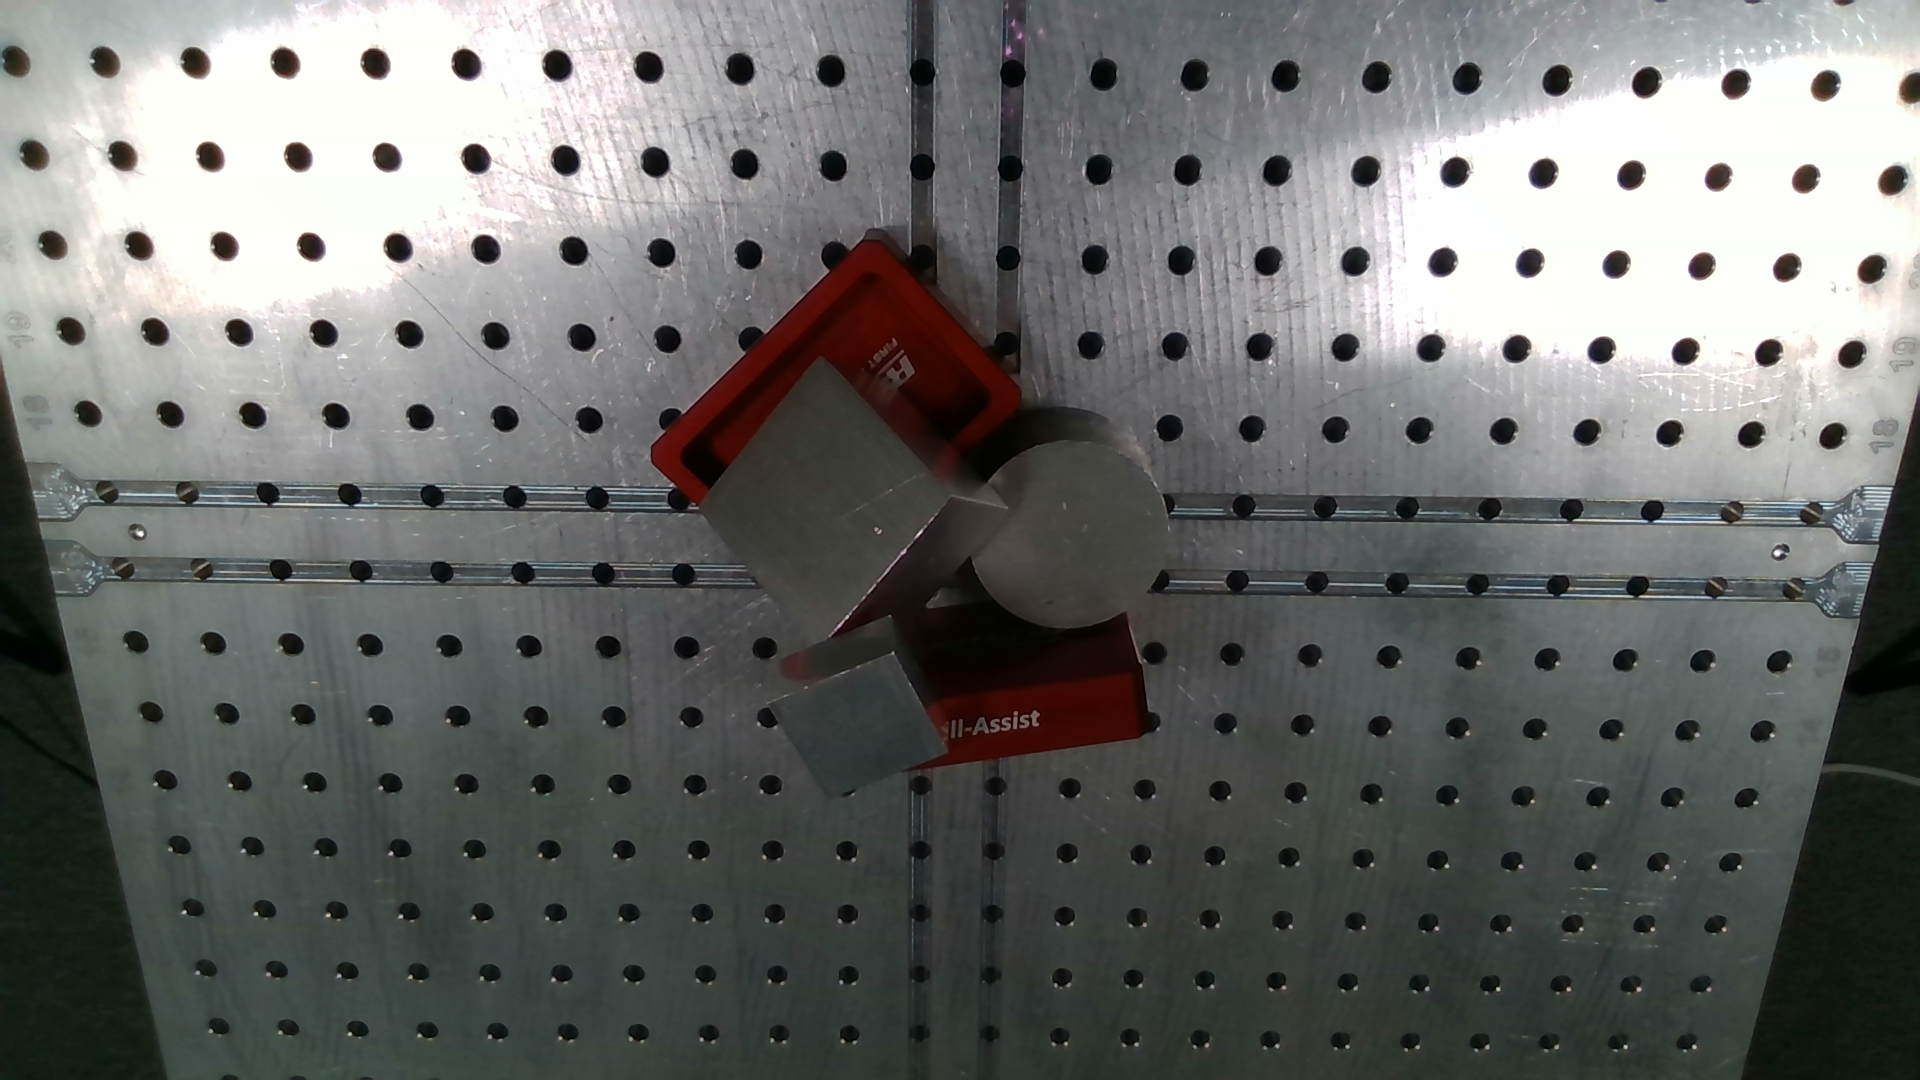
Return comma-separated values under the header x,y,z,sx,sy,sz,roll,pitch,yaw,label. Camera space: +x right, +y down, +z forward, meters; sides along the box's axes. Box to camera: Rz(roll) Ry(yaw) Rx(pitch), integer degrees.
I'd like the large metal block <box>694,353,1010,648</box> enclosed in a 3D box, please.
x,y,z,sx,sy,sz,roll,pitch,yaw,label
-0.042,-0.012,0.536,0.080,0.050,0.080,-49,68,16,large metal block

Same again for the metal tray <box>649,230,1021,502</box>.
x,y,z,sx,sy,sz,roll,pitch,yaw,label
-0.051,-0.050,0.565,0.130,0.030,0.090,-41,105,14,metal tray

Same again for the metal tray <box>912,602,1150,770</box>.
x,y,z,sx,sy,sz,roll,pitch,yaw,label
0.008,0.057,0.573,0.130,0.090,0.030,-9,110,3,metal tray

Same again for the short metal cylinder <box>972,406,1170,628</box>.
x,y,z,sx,sy,sz,roll,pitch,yaw,label
0.044,-0.010,0.570,0.080,0.050,0.080,0,110,0,short metal cylinder

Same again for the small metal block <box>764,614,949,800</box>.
x,y,z,sx,sy,sz,roll,pitch,yaw,label
-0.038,0.062,0.510,0.050,0.025,0.050,-22,120,8,small metal block
